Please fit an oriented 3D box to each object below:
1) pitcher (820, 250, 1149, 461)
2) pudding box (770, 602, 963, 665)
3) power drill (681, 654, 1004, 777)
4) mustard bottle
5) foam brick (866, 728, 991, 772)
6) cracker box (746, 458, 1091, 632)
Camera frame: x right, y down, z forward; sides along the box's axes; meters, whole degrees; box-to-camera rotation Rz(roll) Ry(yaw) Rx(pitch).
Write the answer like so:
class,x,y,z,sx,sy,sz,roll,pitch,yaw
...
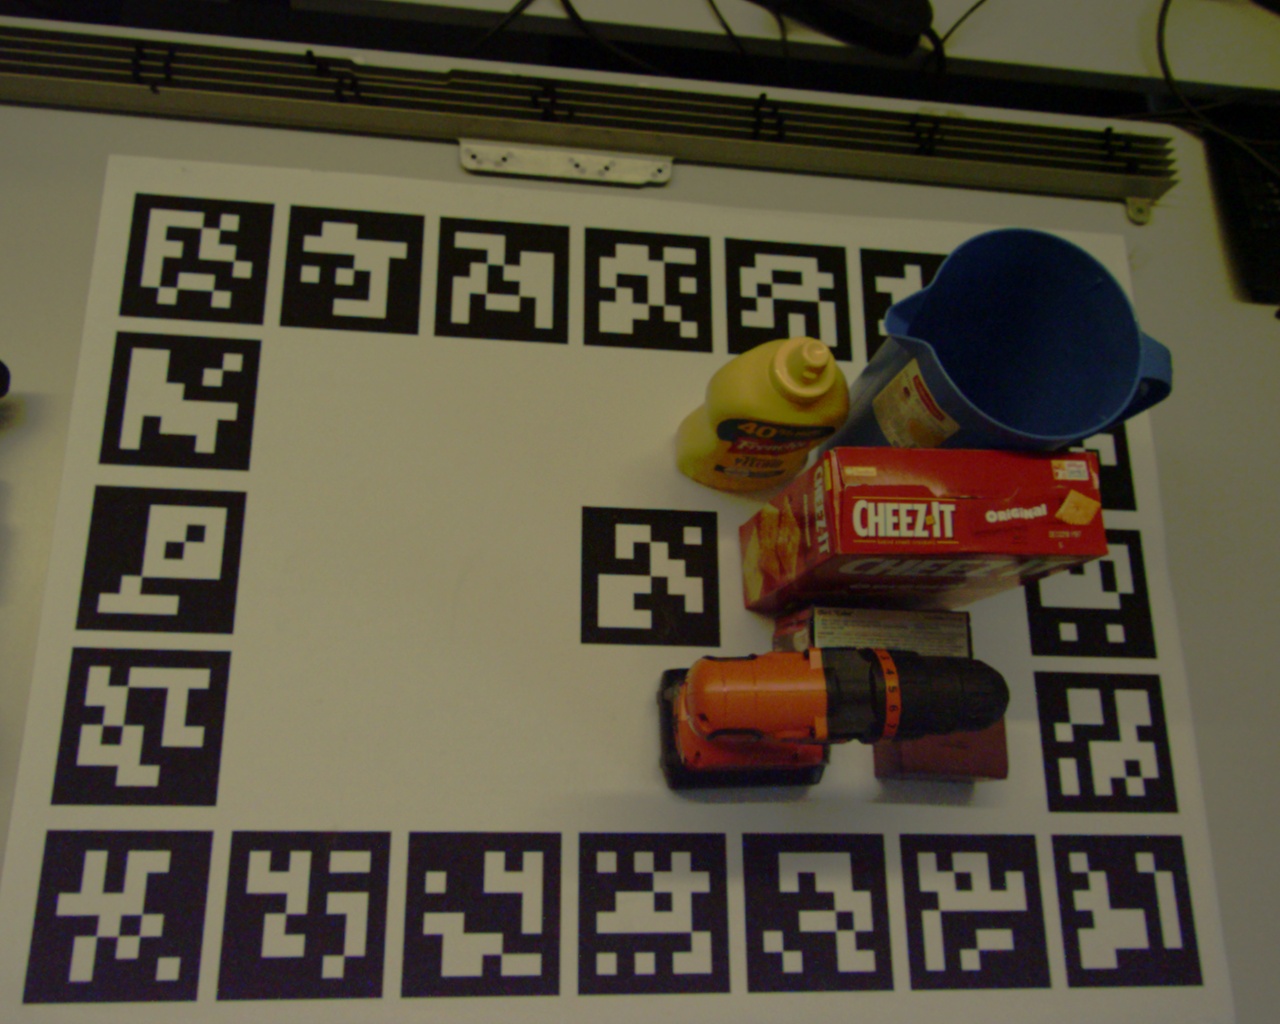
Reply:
class,x,y,z,sx,sy,sz,roll,pitch,yaw
pitcher,0.222,-0.068,0.799,0.188,0.243,0.133,8,74,-5
pudding box,0.158,0.090,0.809,0.113,0.090,0.039,3,74,-5
power drill,0.108,0.130,0.719,0.184,0.187,0.057,1,72,-9
mustard bottle,0.088,-0.071,0.792,0.096,0.192,0.058,16,75,-5
foam brick,0.209,0.163,0.831,0.078,0.051,0.053,5,77,-8
cracker box,0.174,0.030,0.771,0.164,0.214,0.072,0,74,-7
